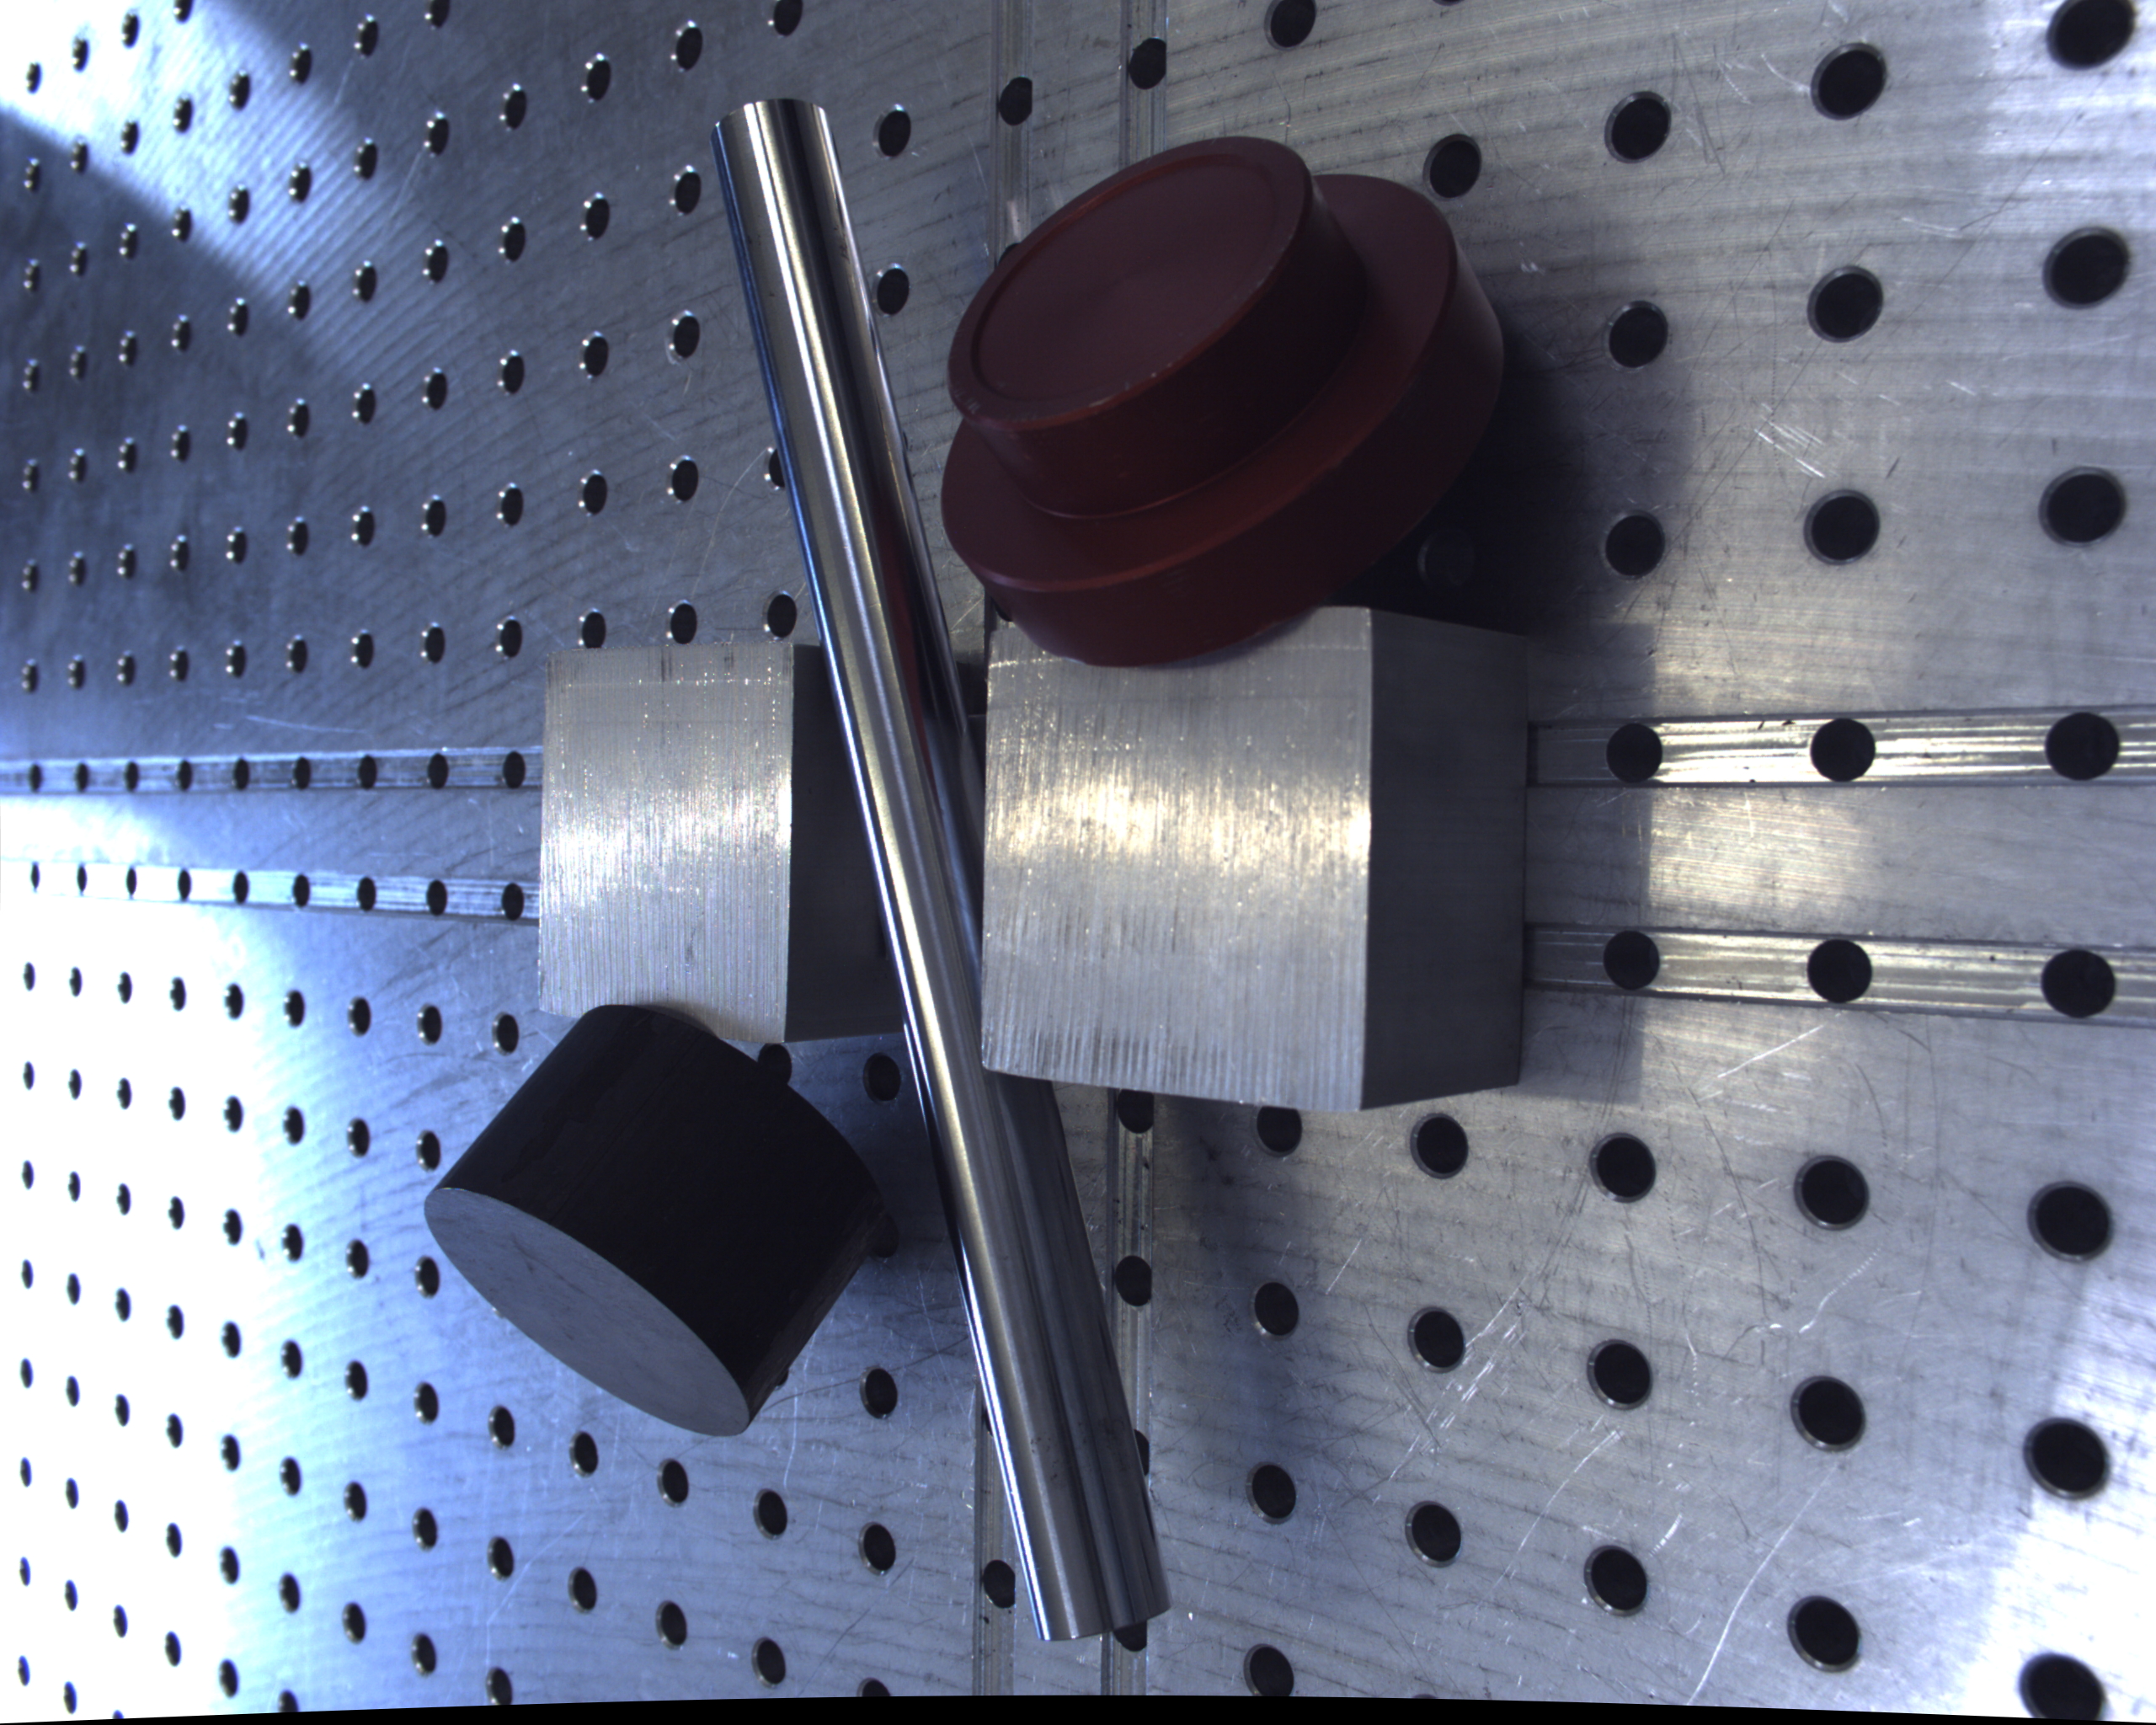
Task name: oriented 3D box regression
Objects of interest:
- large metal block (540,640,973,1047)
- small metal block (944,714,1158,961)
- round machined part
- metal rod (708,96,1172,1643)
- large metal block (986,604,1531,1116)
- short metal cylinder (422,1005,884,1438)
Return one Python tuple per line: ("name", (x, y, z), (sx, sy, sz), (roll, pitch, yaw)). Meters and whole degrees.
("large metal block", (-0.070, -0.005, 0.452), (0.080, 0.050, 0.079), (3, 92, 40))
("small metal block", (-0.011, -0.004, 0.420), (0.050, 0.025, 0.050), (1, 91, 40))
("round machined part", (0.018, -0.083, 0.352), (0.098, 0.042, 0.098), (-22, 44, 23))
("metal rod", (-0.029, -0.007, 0.400), (0.025, 0.025, 0.299), (-22, 76, 38))
("large metal block", (0.031, -0.001, 0.368), (0.080, 0.050, 0.079), (1, 91, 40))
("short metal cylinder", (-0.088, 0.076, 0.438), (0.080, 0.050, 0.080), (23, 145, 18))
